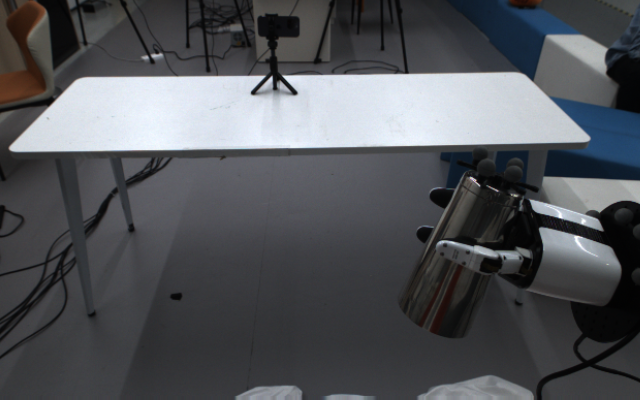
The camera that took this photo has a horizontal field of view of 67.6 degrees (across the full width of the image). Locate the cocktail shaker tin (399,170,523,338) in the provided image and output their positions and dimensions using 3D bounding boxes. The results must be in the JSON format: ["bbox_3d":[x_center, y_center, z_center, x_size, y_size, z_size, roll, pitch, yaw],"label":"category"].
[{"bbox_3d":[0.162,0.057,0.545,0.093,0.170,0.093,16,21,-6],"label":"cocktail shaker tin"}]
